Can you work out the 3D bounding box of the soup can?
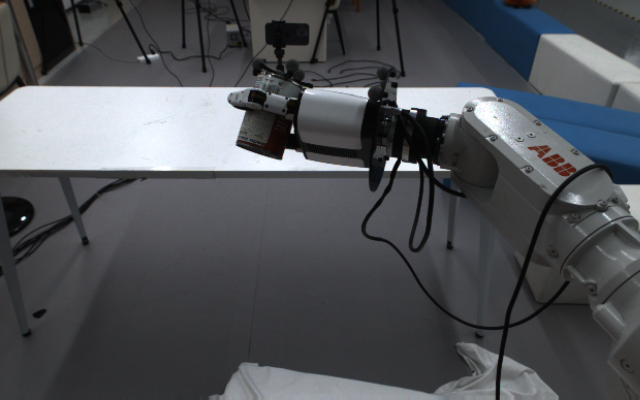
[{"bbox_3d":[-0.068,-0.112,0.658,0.067,0.101,0.067,17,-1,0],"label":"soup can"}]
